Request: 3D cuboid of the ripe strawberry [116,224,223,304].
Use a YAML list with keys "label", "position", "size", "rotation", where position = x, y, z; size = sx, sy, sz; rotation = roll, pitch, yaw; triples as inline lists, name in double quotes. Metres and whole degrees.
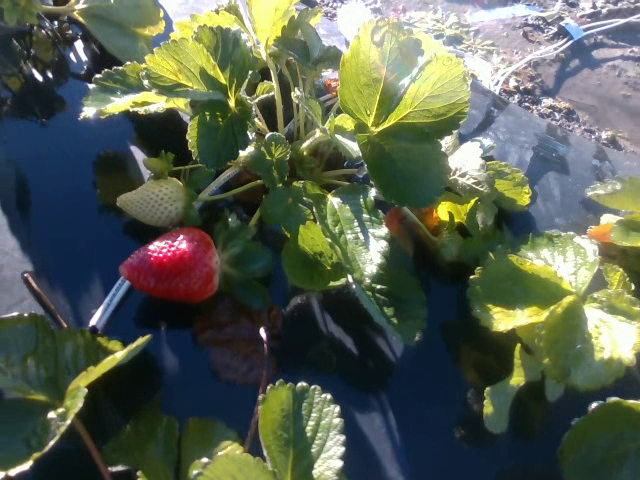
- label: "ripe strawberry"
  position: [-0.090, 0.016, 0.391]
  size: [0.080, 0.063, 0.040]
  rotation: [-4, -5, -34]
